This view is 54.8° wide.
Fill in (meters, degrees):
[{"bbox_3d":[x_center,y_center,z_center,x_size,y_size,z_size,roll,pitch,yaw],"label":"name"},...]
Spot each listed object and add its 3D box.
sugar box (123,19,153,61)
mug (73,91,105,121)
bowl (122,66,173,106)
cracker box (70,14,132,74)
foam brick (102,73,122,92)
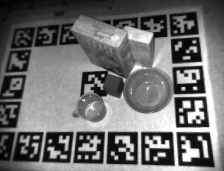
[{"bbox_3d":[0.082,-0.147,0.721,0.092,0.178,0.045,17,75,18],"label":"sugar box"},{"bbox_3d":[-0.085,0.073,0.725,0.117,0.082,0.093,-12,61,10],"label":"mug"},{"bbox_3d":[0.117,0.005,0.715,0.161,0.055,0.161,-3,71,11],"label":"bowl"},{"bbox_3d":[-0.030,-0.134,0.720,0.163,0.215,0.072,26,76,19],"label":"cracker box"},{"bbox_3d":[-0.001,-0.016,0.751,0.052,0.079,0.051,11,73,17],"label":"foam brick"}]
